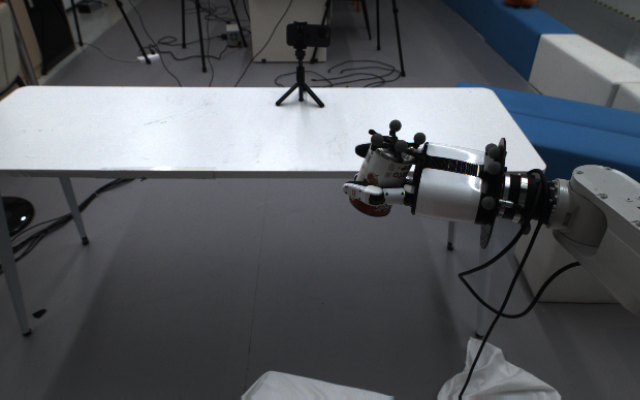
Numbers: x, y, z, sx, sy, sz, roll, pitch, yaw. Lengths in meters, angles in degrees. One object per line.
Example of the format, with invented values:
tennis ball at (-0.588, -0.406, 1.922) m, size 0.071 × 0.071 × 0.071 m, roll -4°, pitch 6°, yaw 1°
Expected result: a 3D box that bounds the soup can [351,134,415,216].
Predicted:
soup can at (0.091, -0.035, 0.711) m, size 0.067 × 0.101 × 0.067 m, roll 14°, pitch 35°, yaw -10°
